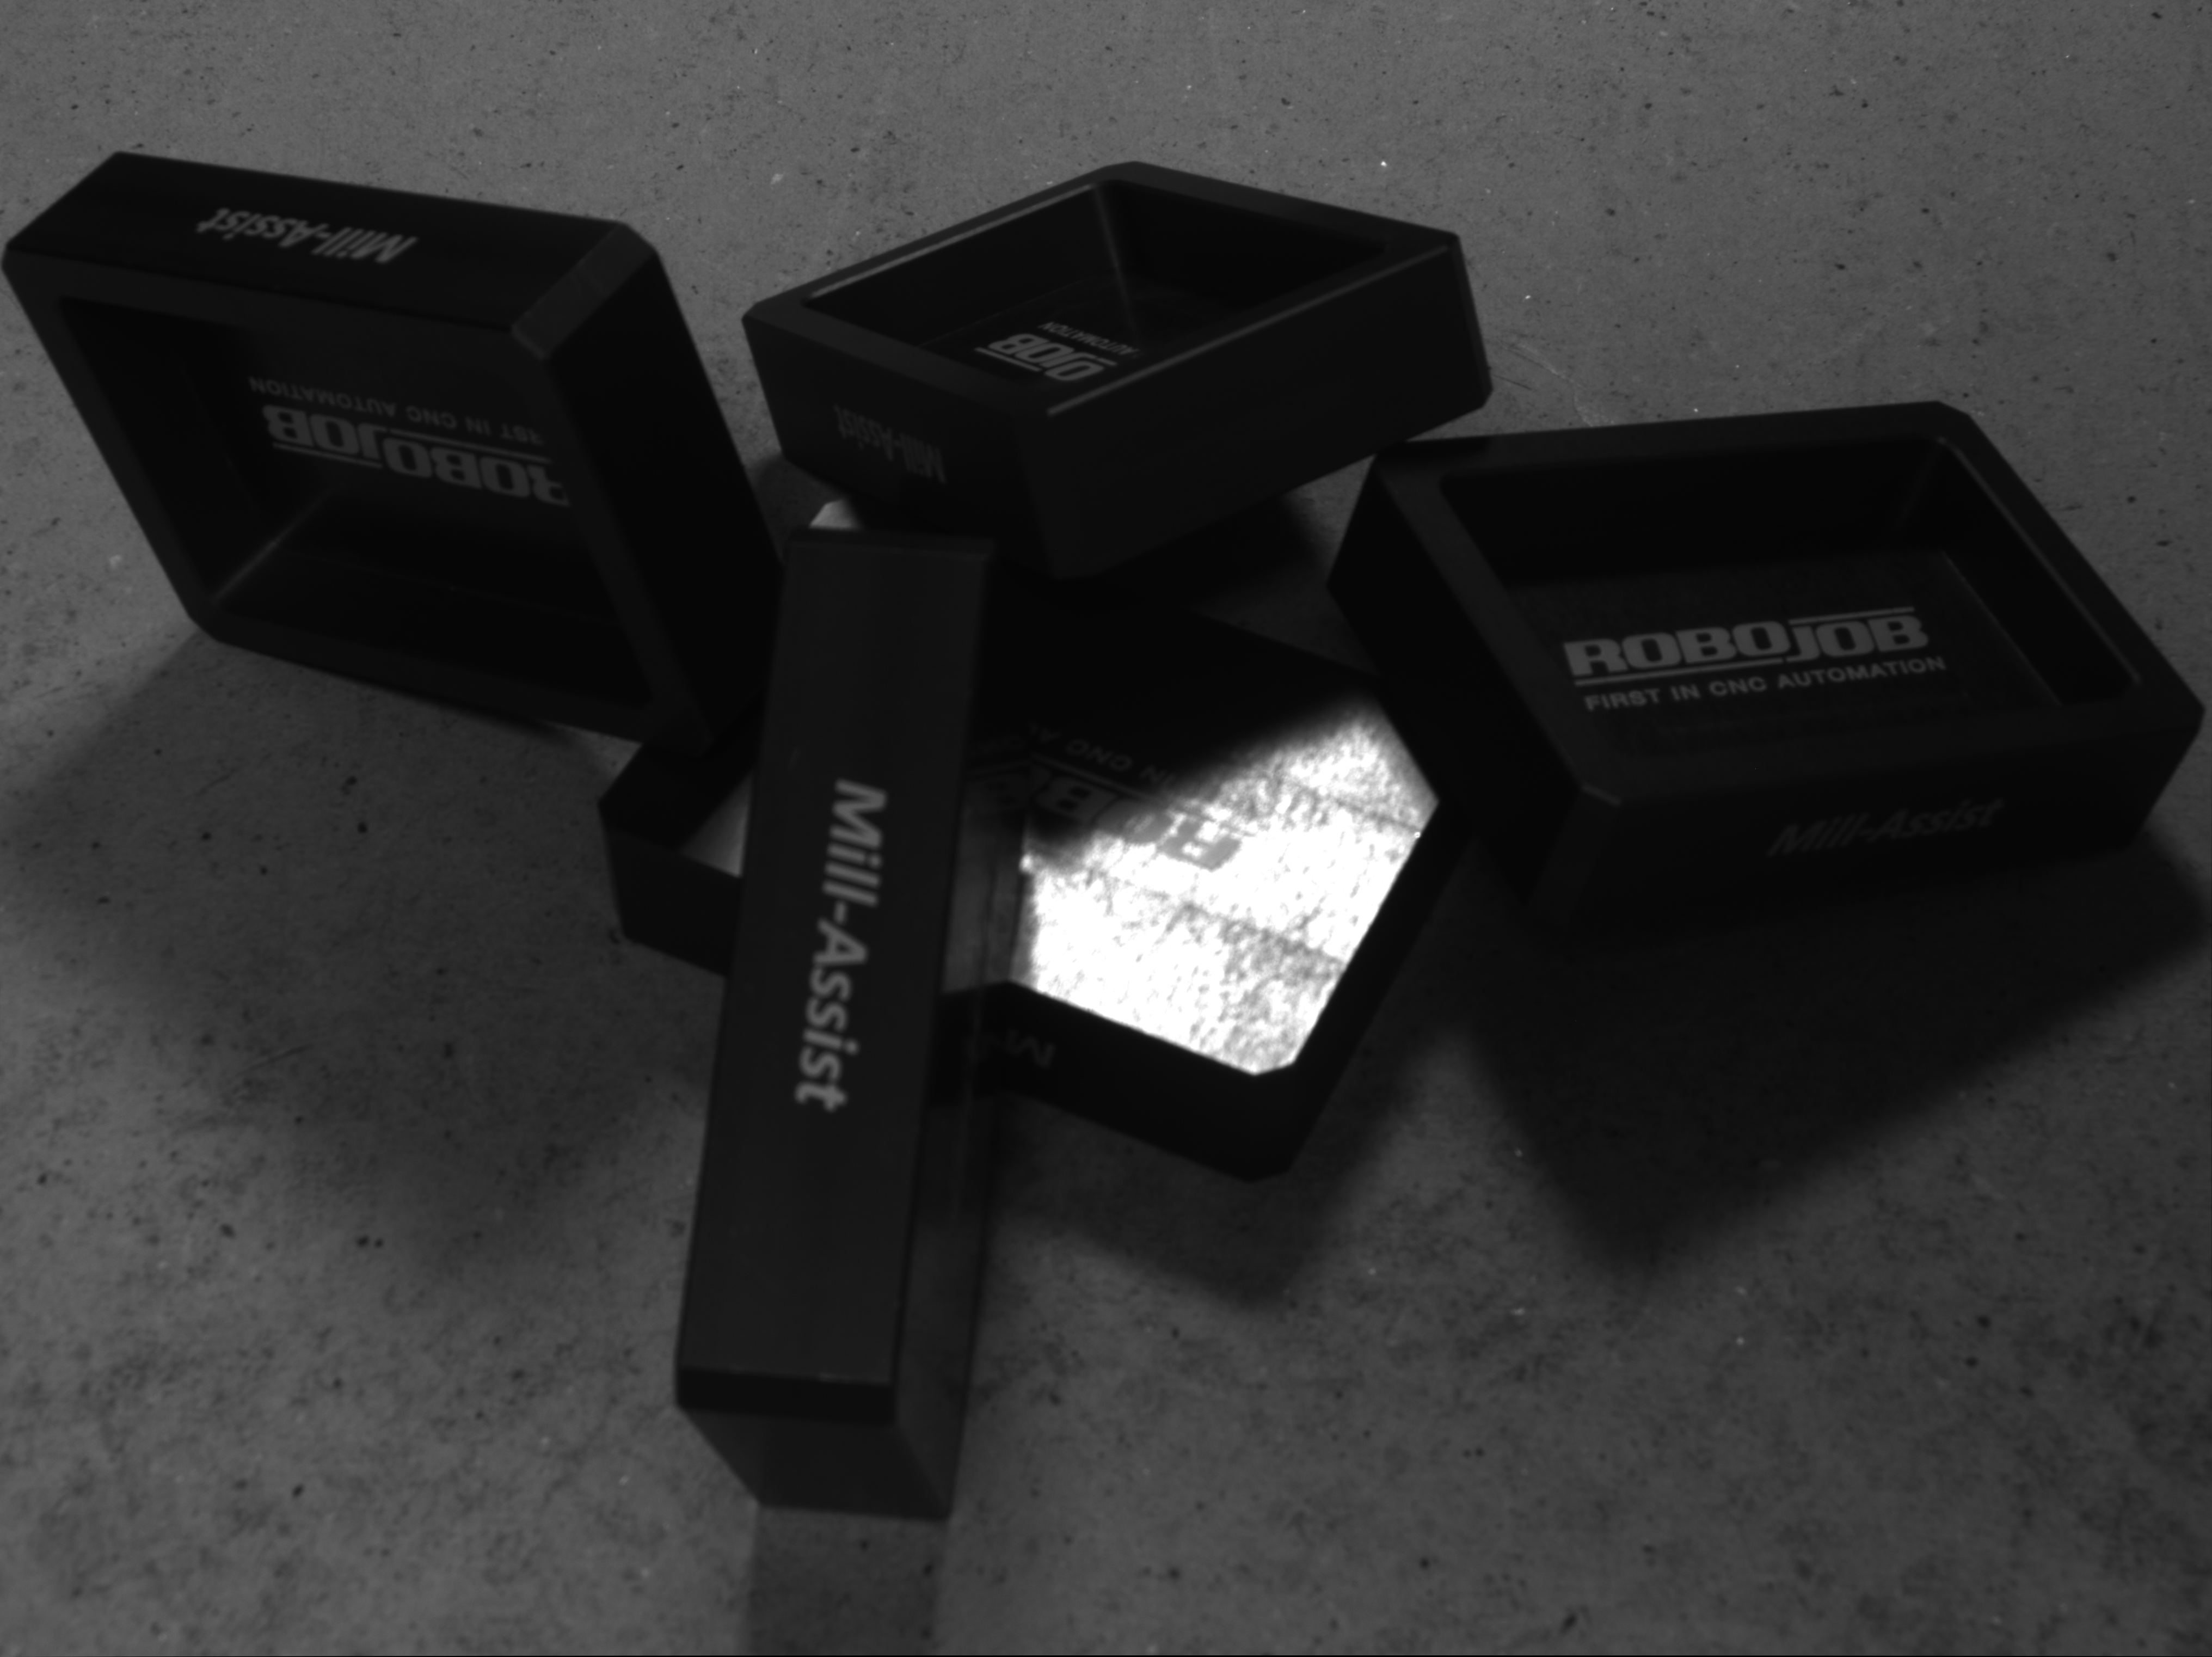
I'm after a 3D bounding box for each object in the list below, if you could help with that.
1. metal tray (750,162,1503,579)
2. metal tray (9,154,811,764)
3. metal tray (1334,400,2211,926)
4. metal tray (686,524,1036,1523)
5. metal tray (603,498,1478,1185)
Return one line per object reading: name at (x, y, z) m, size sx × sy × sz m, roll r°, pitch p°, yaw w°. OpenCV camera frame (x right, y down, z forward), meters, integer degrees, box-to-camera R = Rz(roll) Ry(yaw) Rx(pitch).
metal tray at (0.001, -0.088, 0.675) m, size 0.090 × 0.030 × 0.130 m, roll -25°, pitch 25°, yaw -20°
metal tray at (-0.121, -0.065, 0.635) m, size 0.130 × 0.090 × 0.030 m, roll 14°, pitch 49°, yaw 33°
metal tray at (0.117, -0.032, 0.645) m, size 0.130 × 0.030 × 0.090 m, roll -7°, pitch 48°, yaw -25°
metal tray at (-0.034, 0.031, 0.548) m, size 0.030 × 0.090 × 0.130 m, roll 4°, pitch 70°, yaw 4°
metal tray at (-0.010, -0.001, 0.639) m, size 0.130 × 0.030 × 0.090 m, roll 20°, pitch 53°, yaw 16°
